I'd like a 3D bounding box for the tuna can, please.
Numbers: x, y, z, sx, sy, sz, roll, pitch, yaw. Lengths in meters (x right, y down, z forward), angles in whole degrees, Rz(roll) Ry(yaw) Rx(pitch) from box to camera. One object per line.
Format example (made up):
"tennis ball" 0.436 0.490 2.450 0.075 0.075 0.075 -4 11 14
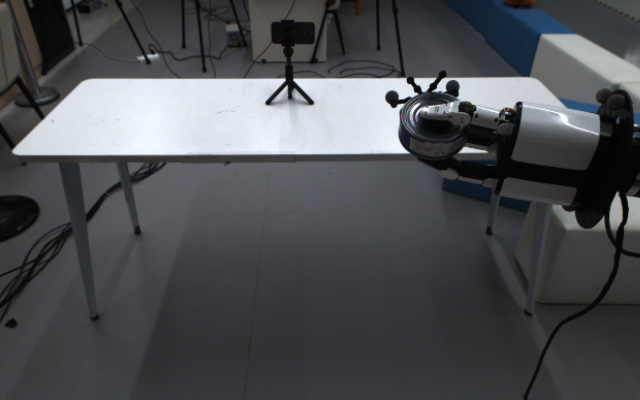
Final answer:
"tuna can" 0.144 -0.095 0.603 0.085 0.034 0.085 -3 59 5
